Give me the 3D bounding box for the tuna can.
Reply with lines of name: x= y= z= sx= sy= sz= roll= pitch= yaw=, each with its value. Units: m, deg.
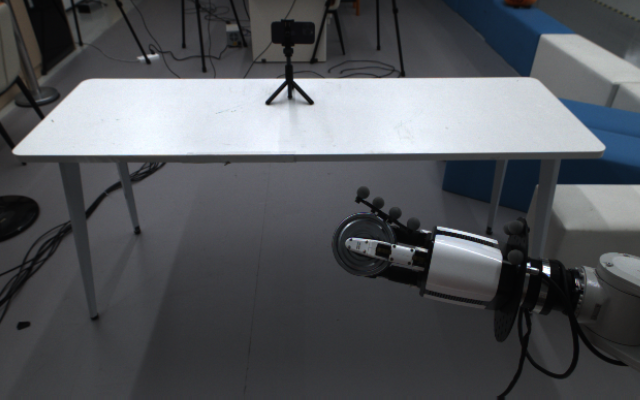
tuna can: x=0.064 y=0.066 z=0.647 sx=0.085 sy=0.085 sz=0.034 roll=12 pitch=-4 yaw=14
